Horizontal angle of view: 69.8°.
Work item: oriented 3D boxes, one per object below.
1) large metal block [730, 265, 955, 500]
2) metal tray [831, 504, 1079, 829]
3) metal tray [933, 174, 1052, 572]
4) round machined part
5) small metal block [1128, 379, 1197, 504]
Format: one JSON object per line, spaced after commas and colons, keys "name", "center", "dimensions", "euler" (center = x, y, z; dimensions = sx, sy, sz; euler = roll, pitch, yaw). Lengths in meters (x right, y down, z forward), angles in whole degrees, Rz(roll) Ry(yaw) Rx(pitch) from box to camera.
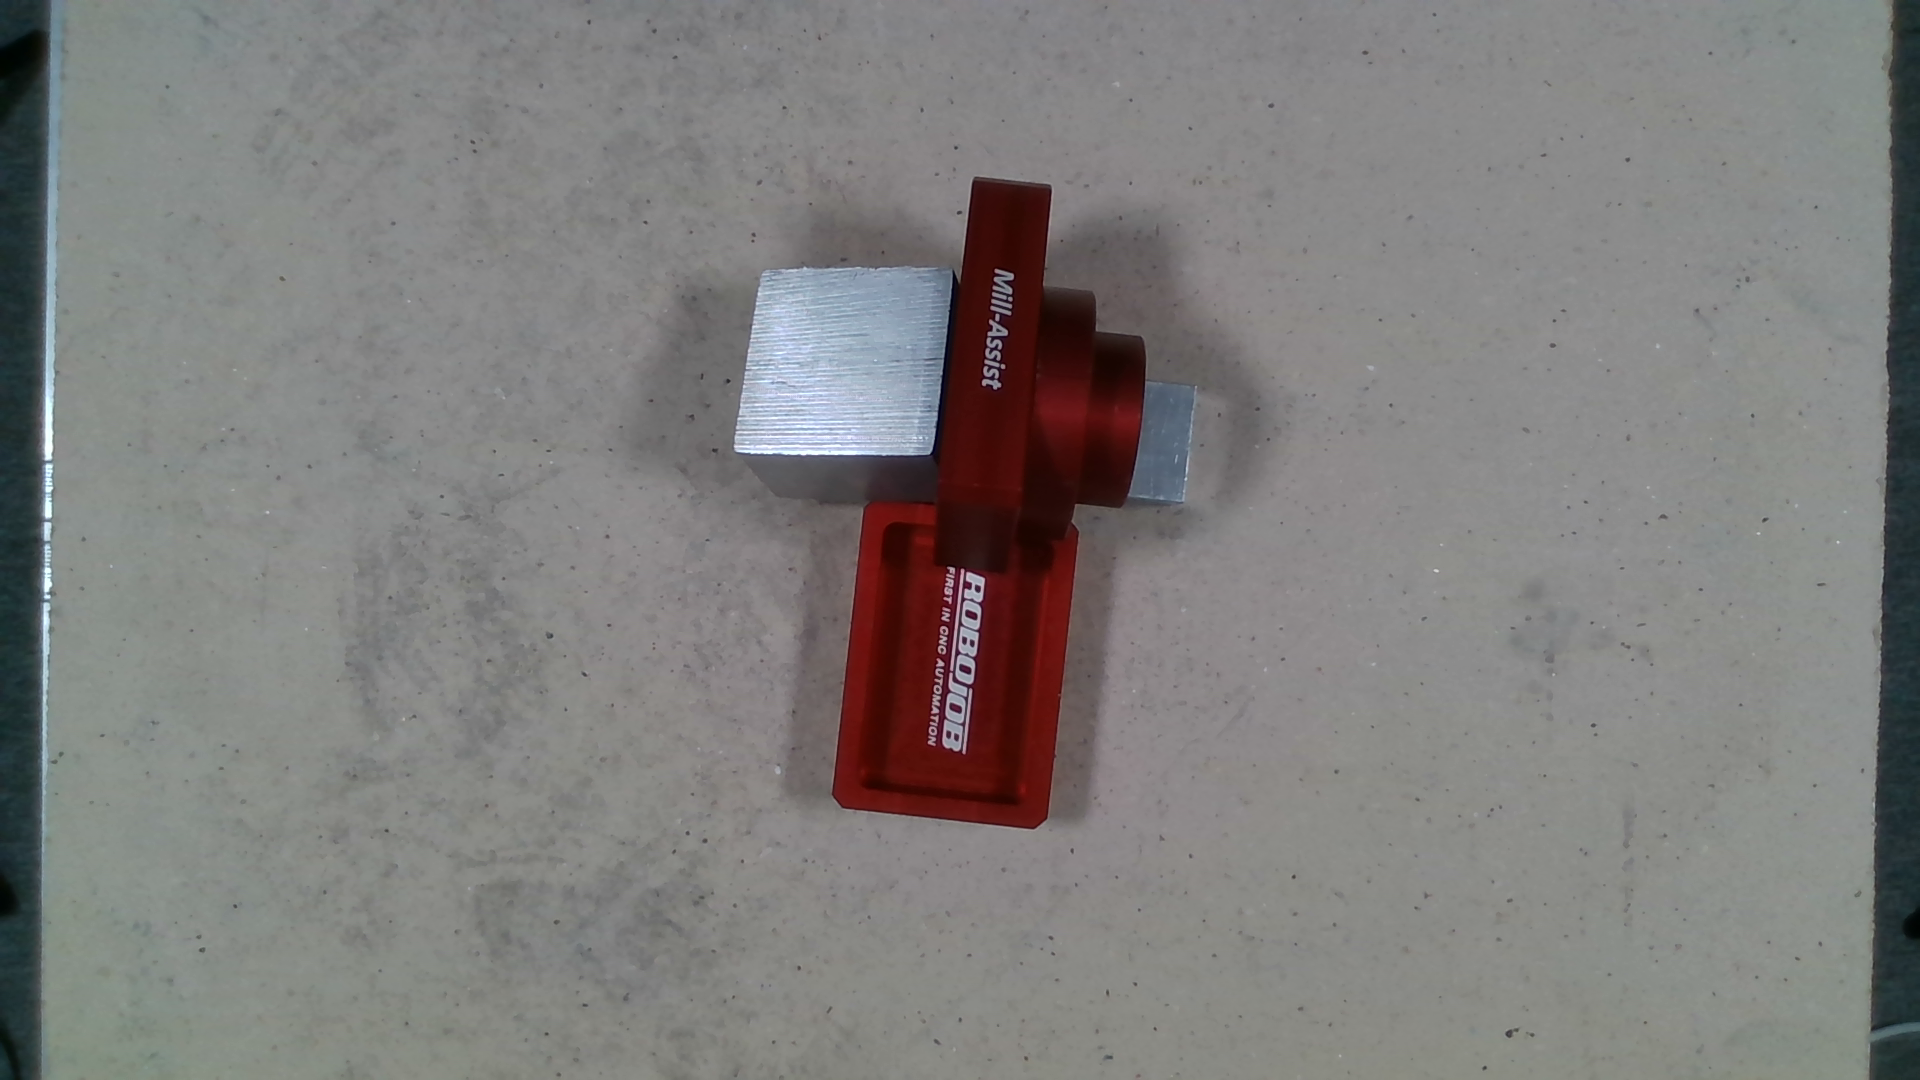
{"name": "large metal block", "center": [-0.041, -0.062, 0.555], "dimensions": [0.080, 0.050, 0.080], "euler": [2, 72, 12]}
{"name": "metal tray", "center": [-0.002, 0.051, 0.585], "dimensions": [0.090, 0.030, 0.130], "euler": [6, 90, 0]}
{"name": "metal tray", "center": [0.012, -0.063, 0.537], "dimensions": [0.030, 0.090, 0.130], "euler": [6, 72, 1]}
{"name": "round machined part", "center": [0.046, -0.048, 0.539], "dimensions": [0.042, 0.098, 0.098], "euler": [6, 90, 0]}
{"name": "small metal block", "center": [0.071, -0.043, 0.587], "dimensions": [0.050, 0.025, 0.050], "euler": [6, 90, 0]}
